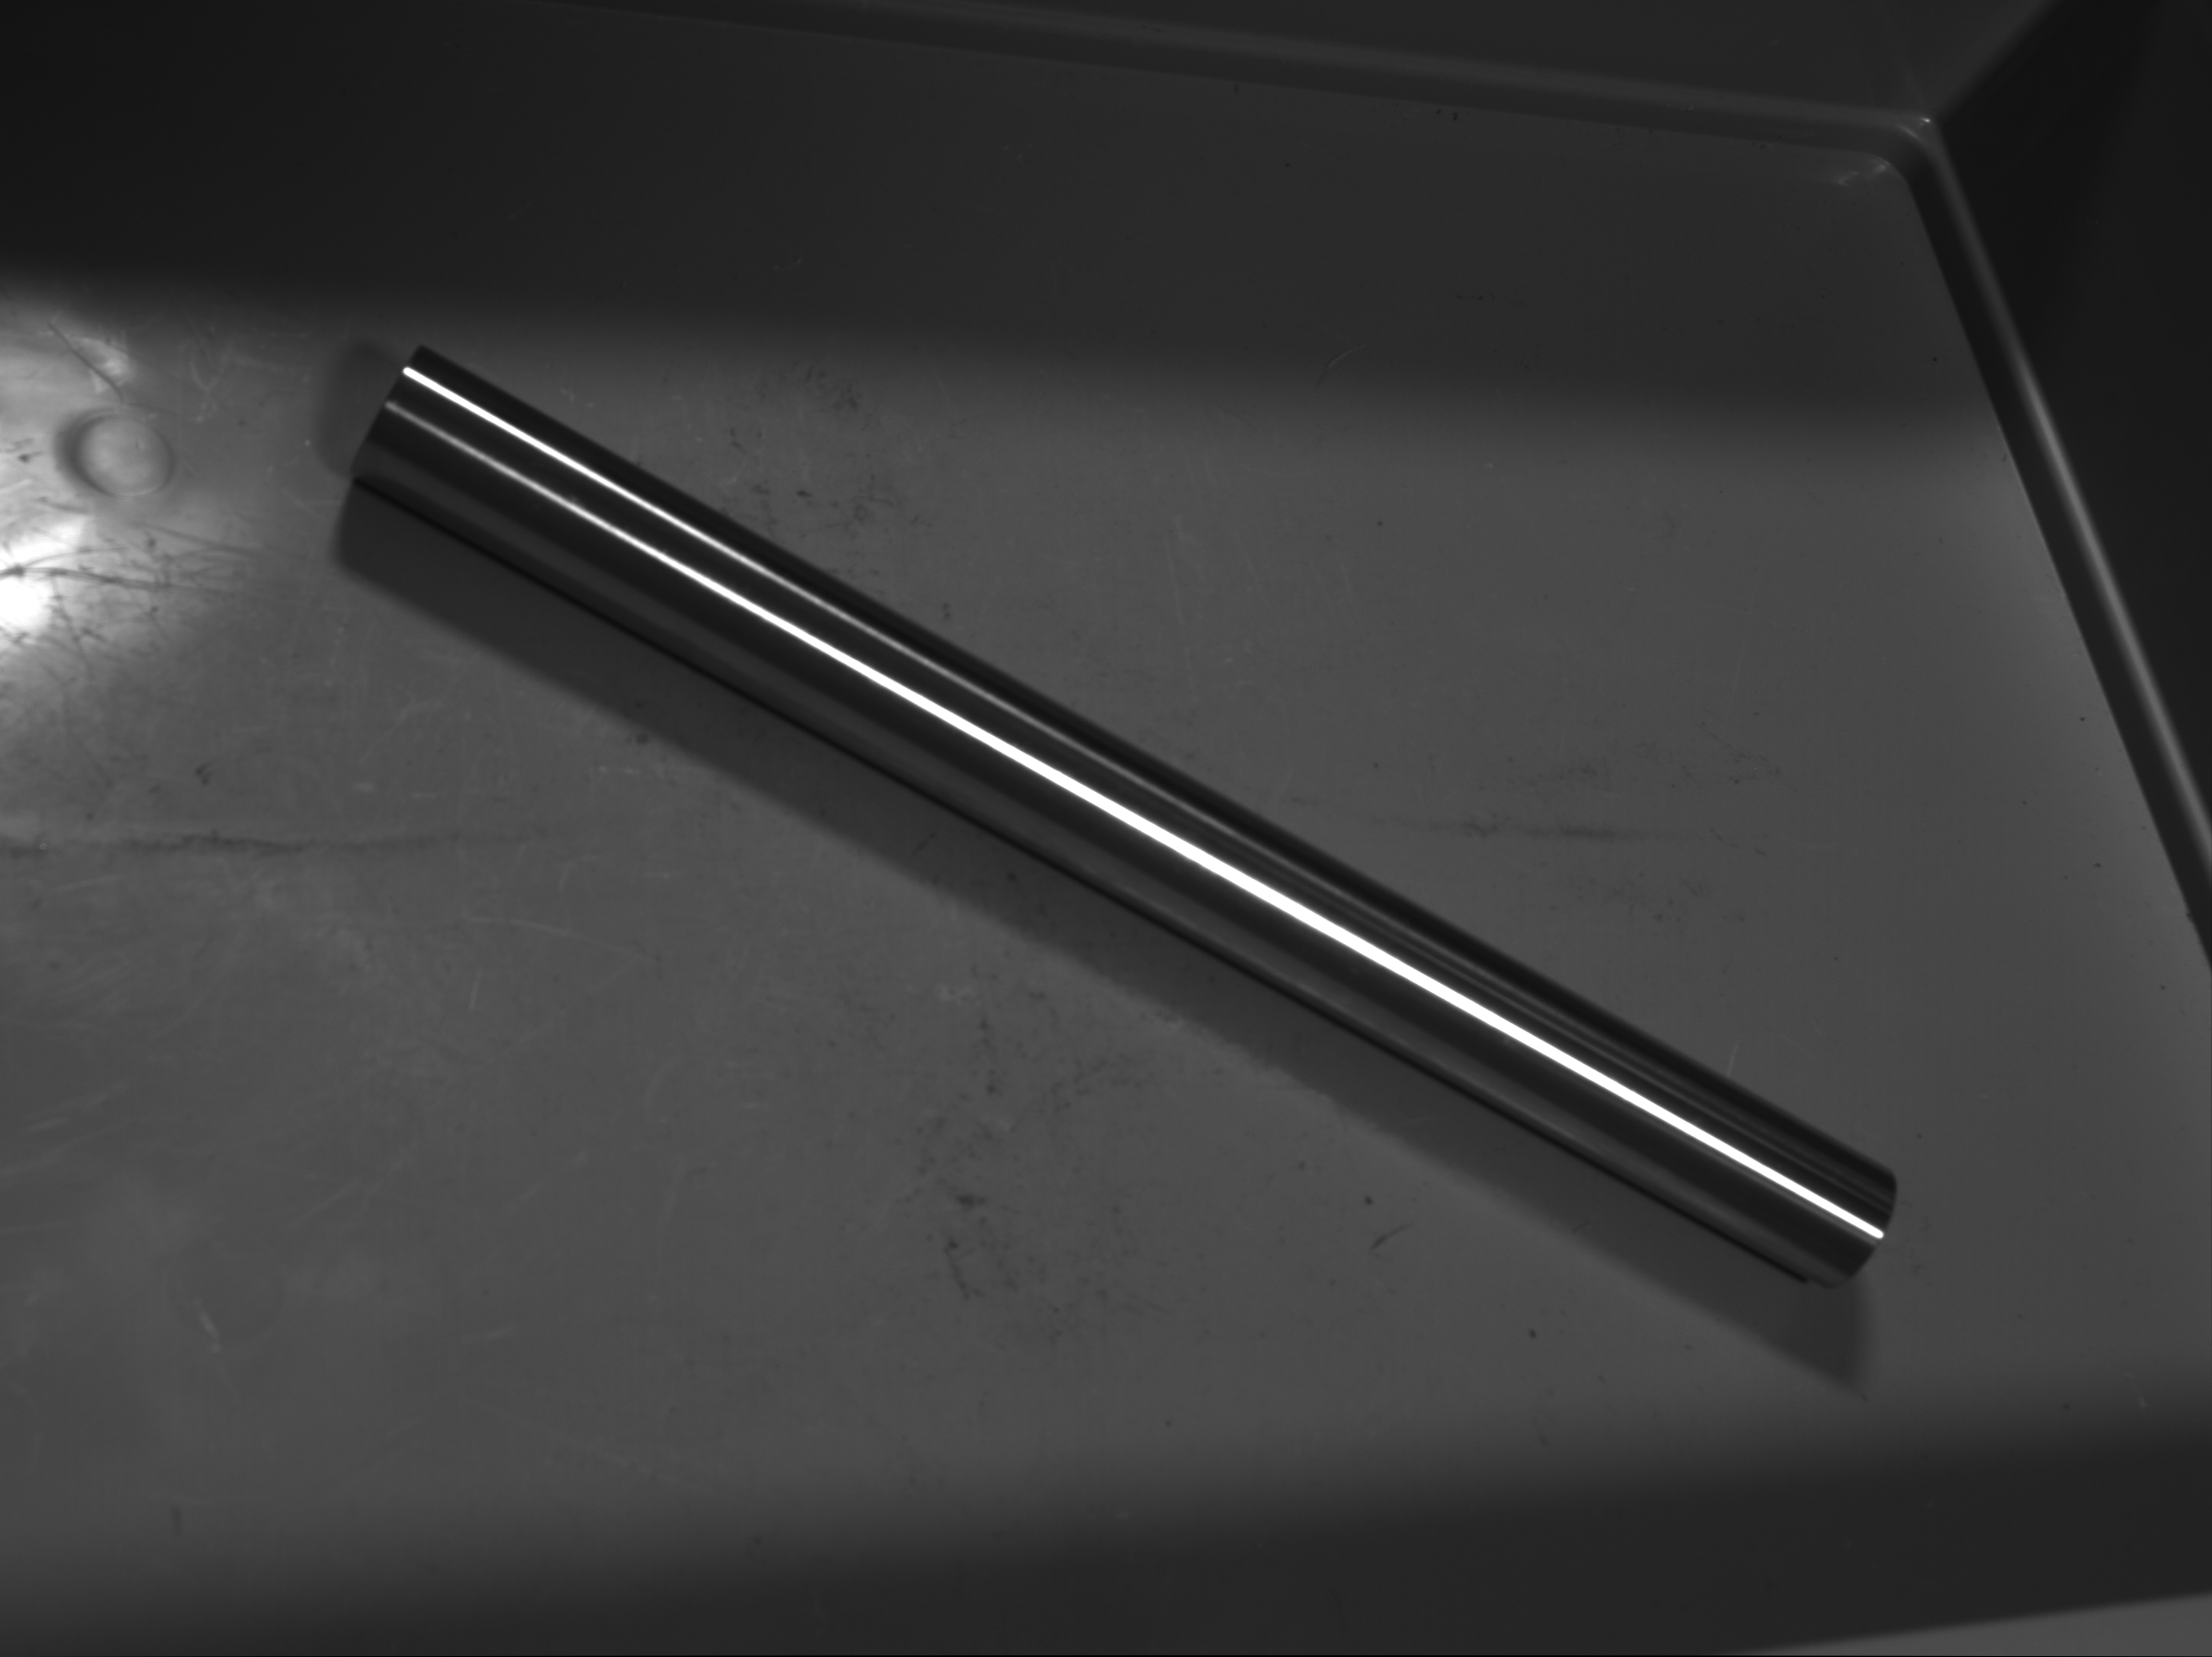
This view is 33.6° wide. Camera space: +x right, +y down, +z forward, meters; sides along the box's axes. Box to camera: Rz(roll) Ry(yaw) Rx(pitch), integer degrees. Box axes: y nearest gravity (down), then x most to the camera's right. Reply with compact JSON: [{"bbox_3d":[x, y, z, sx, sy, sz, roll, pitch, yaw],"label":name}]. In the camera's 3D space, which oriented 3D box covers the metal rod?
[{"bbox_3d":[0.010,0.001,0.642,0.300,0.025,0.025,29,52,-10],"label":"metal rod"}]
